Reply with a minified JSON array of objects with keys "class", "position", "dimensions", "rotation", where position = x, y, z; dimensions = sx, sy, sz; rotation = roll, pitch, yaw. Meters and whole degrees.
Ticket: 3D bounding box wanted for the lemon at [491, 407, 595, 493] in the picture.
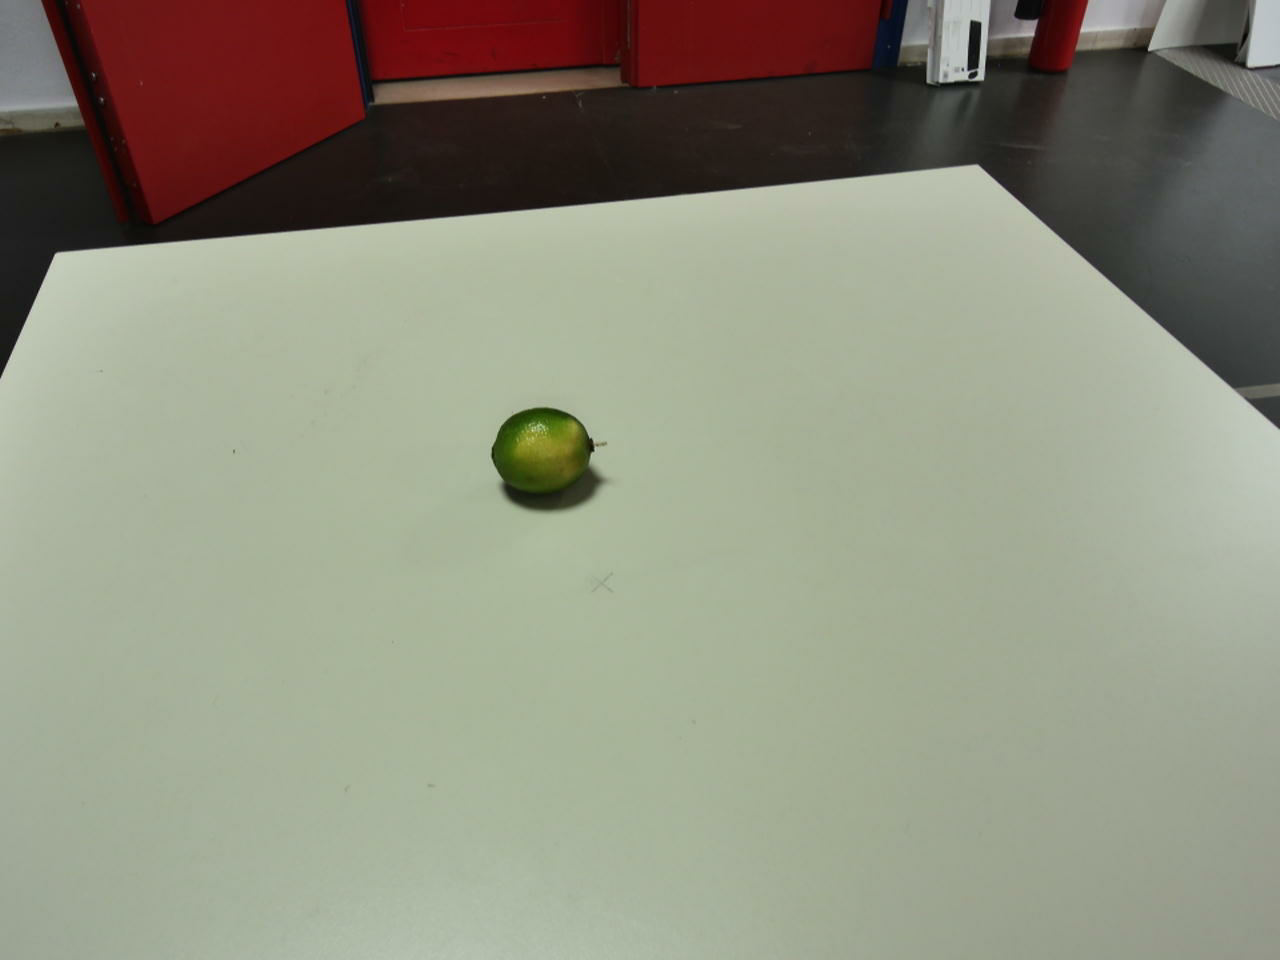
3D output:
[{"class":"lemon","position":[-0.058,-0.018,0.594],"dimensions":[0.055,0.050,0.054],"rotation":[27,45,28]}]
